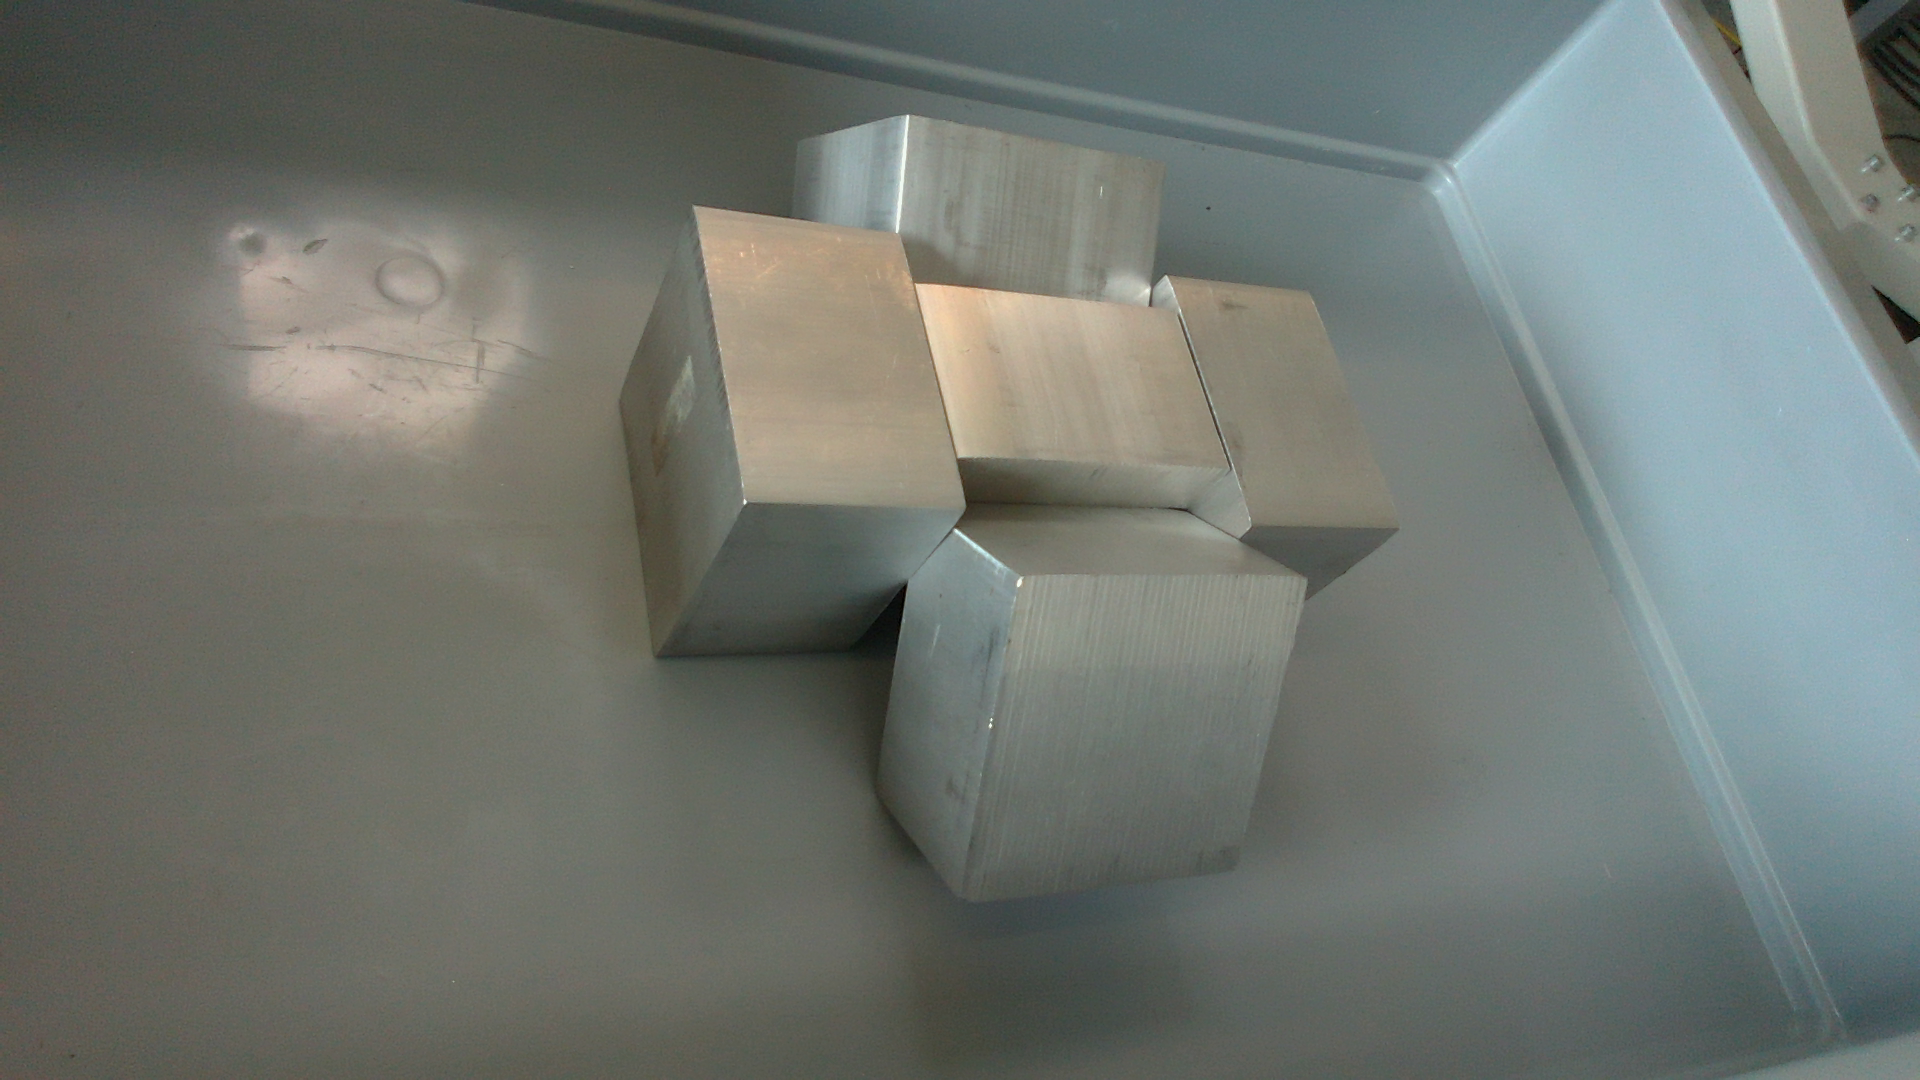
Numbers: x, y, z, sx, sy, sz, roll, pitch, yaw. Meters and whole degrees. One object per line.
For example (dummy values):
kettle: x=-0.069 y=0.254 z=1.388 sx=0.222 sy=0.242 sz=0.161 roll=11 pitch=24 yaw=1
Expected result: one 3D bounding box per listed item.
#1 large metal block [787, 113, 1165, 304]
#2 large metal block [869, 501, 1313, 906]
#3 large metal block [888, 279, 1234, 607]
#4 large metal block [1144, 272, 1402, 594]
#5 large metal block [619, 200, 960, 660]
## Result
large metal block: x=0.001 y=-0.087 z=0.399 sx=0.080 sy=0.080 sz=0.050 roll=2 pitch=98 yaw=-27
large metal block: x=0.030 y=0.037 z=0.338 sx=0.080 sy=0.080 sz=0.050 roll=1 pitch=19 yaw=-29
large metal block: x=0.013 y=-0.022 z=0.374 sx=0.080 sy=0.080 sz=0.050 roll=1 pitch=61 yaw=-28
large metal block: x=0.071 y=-0.019 z=0.403 sx=0.050 sy=0.080 sz=0.080 roll=1 pitch=61 yaw=-28
large metal block: x=-0.047 y=-0.024 z=0.343 sx=0.050 sy=0.080 sz=0.080 roll=1 pitch=61 yaw=-28
